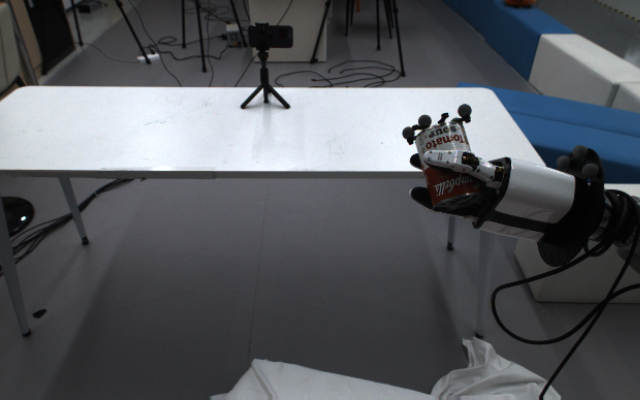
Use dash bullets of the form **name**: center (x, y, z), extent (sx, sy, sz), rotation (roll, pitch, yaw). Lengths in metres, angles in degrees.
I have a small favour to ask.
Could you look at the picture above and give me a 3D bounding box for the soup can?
- **soup can**: center (0.171, -0.044, 0.639), extent (0.067, 0.067, 0.101), rotation (-8, 74, -14)
